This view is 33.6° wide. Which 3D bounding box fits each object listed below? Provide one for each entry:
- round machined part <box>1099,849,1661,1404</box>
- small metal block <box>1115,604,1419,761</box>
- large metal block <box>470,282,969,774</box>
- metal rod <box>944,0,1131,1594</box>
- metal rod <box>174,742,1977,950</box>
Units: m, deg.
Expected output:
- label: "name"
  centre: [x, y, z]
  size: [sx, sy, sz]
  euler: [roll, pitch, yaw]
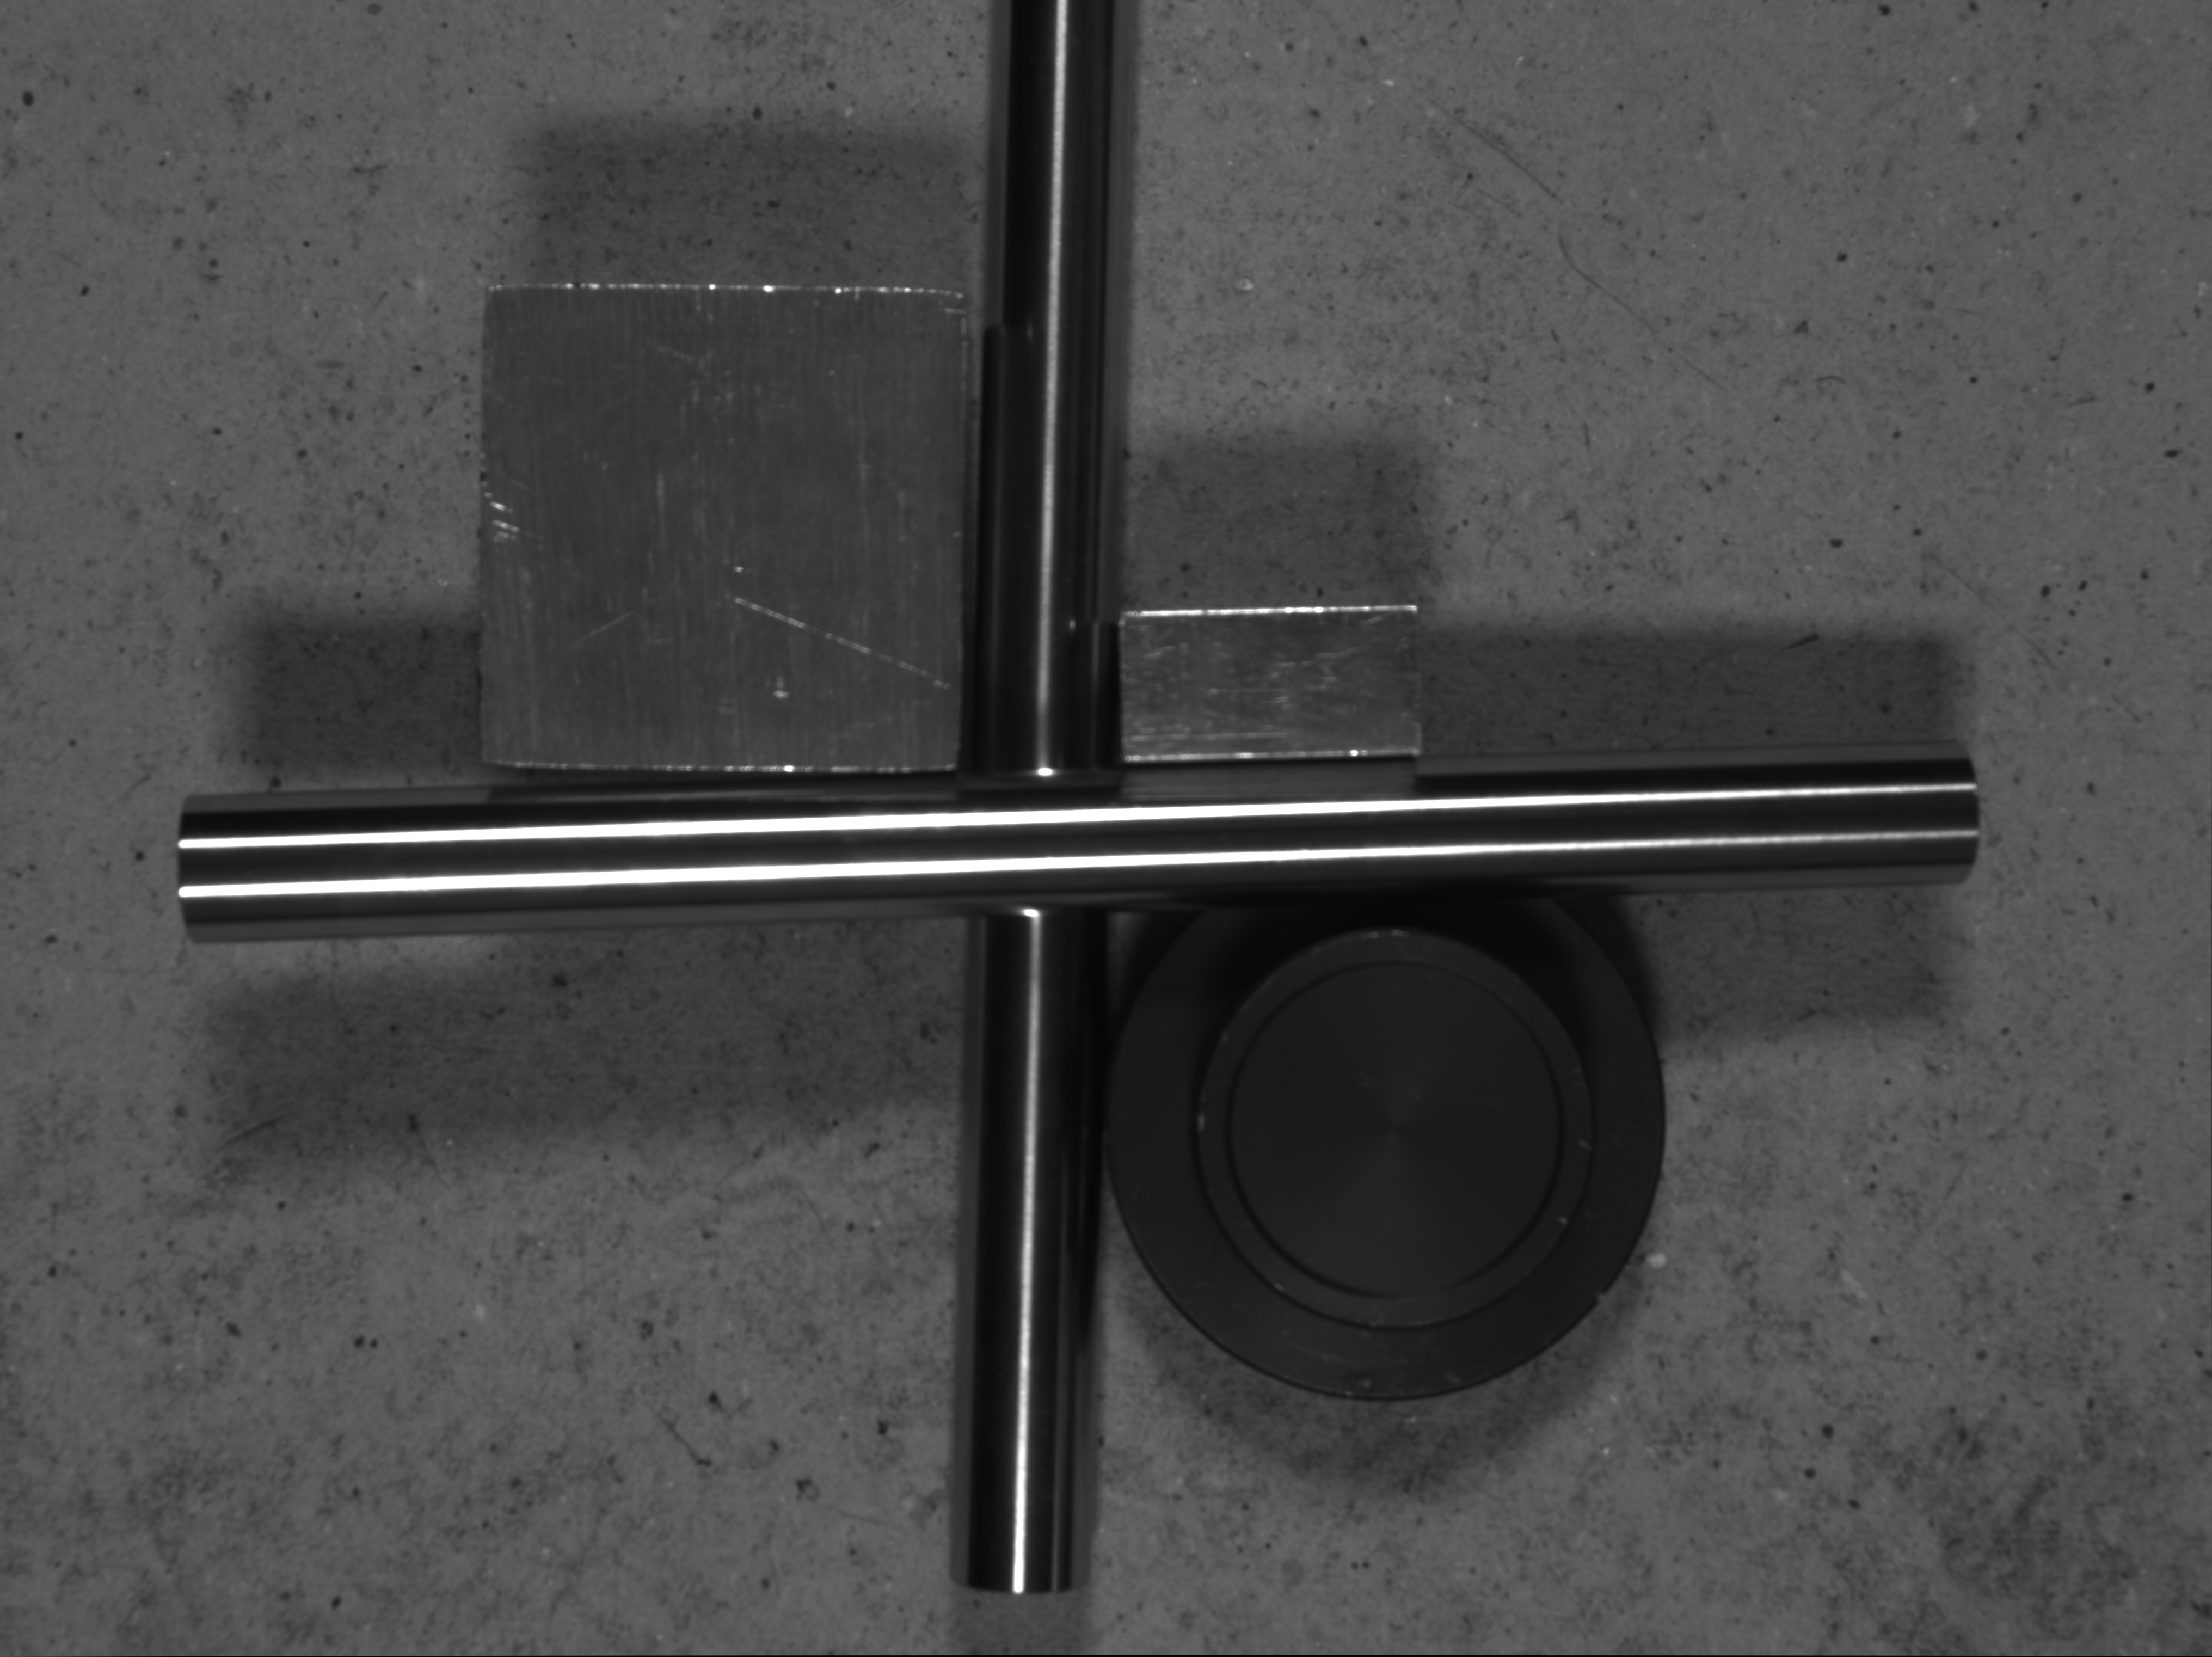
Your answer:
- label: "round machined part"
  centre: [0.048, 0.051, 0.636]
  size: [0.098, 0.042, 0.098]
  euler: [0, 90, 0]
- label: "small metal block"
  centre: [0.027, -0.024, 0.633]
  size: [0.050, 0.050, 0.025]
  euler: [-1, 90, 0]
- label: "large metal block"
  centre: [-0.065, -0.050, 0.632]
  size: [0.080, 0.050, 0.080]
  euler: [1, 90, 0]
- label: "metal rod"
  centre: [-0.012, -0.018, 0.645]
  size: [0.025, 0.025, 0.300]
  euler: [2, 90, 0]
- label: "metal rod"
  centre: [-0.003, 0.003, 0.620]
  size: [0.300, 0.025, 0.025]
  euler: [-2, 90, -4]
